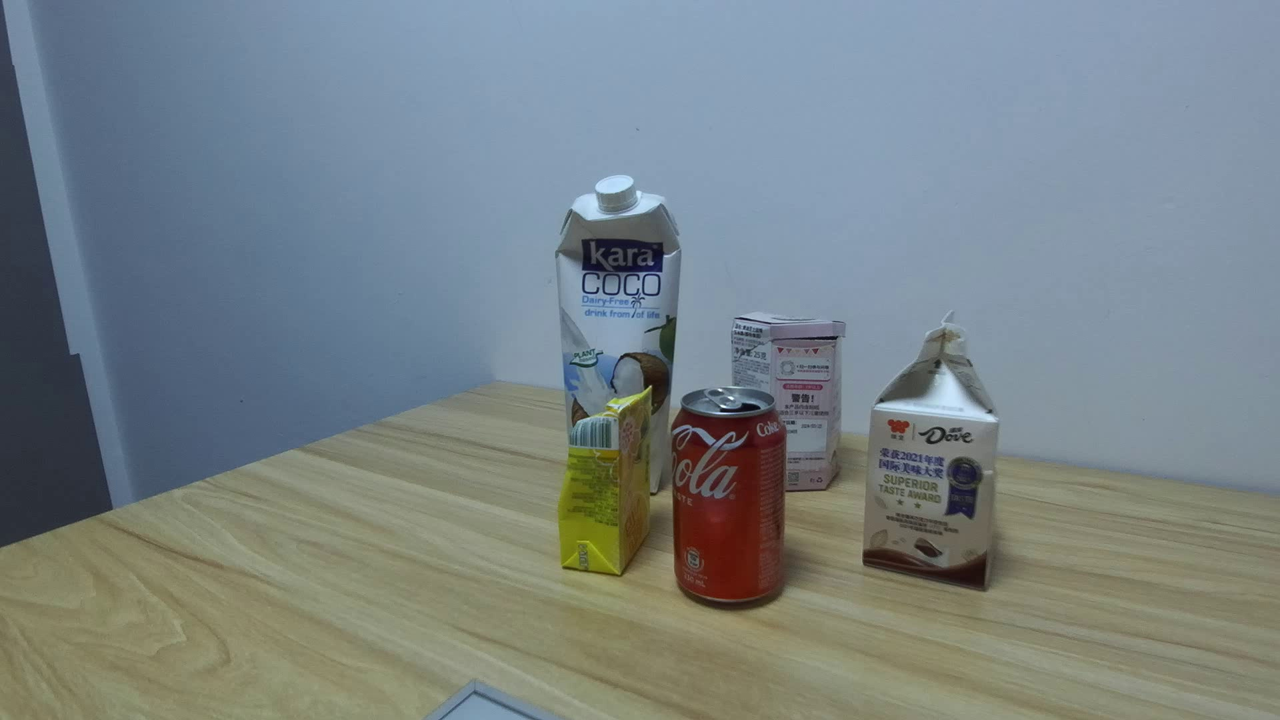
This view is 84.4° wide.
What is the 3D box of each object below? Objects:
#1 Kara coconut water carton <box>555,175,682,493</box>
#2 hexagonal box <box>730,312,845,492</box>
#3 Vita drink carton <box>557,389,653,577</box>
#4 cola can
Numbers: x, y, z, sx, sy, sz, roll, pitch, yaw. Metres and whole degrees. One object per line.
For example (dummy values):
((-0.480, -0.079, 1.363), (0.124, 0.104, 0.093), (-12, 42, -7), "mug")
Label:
((-0.015, -0.018, 0.559), (0.099, 0.244, 0.071), (-1, 11, 6), "Kara coconut water carton")
((0.120, 0.030, 0.571), (0.092, 0.135, 0.085), (-2, 13, 1), "hexagonal box")
((-0.022, 0.074, 0.460), (0.046, 0.109, 0.071), (5, 14, 18), "Vita drink carton")
((0.052, 0.078, 0.414), (0.068, 0.120, 0.068), (-2, 14, 1), "cola can")
